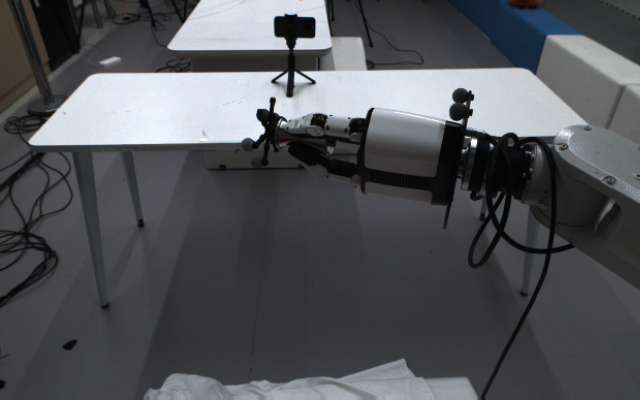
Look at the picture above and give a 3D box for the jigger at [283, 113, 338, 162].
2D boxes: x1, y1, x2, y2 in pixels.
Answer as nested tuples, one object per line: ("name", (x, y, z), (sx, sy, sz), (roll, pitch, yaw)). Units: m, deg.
("jigger", (-0.012, -0.083, 0.606), (0.071, 0.043, 0.043), (9, 35, 16))
